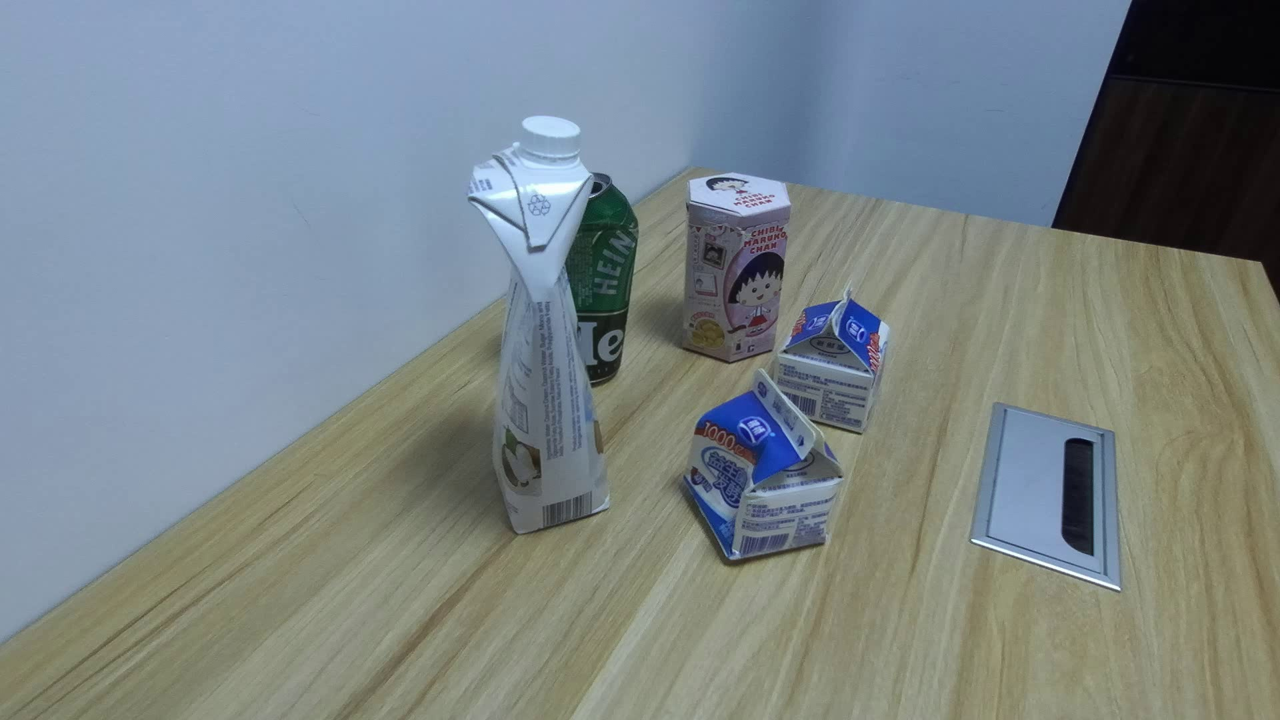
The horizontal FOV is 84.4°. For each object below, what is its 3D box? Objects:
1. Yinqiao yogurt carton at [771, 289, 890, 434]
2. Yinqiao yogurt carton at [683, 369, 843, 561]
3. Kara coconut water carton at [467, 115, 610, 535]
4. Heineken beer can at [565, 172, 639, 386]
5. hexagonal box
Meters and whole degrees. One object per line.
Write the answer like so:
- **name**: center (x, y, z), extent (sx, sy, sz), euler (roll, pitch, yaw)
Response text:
- **Yinqiao yogurt carton**: center (0.146, -0.008, 0.529), extent (0.073, 0.092, 0.076), euler (13, 33, 22)
- **Yinqiao yogurt carton**: center (0.076, 0.060, 0.424), extent (0.071, 0.094, 0.077), euler (-5, 34, -18)
- **Kara coconut water carton**: center (-0.057, -0.013, 0.405), extent (0.069, 0.239, 0.114), euler (-10, 35, -17)
- **Heineken beer can**: center (-0.050, -0.060, 0.544), extent (0.077, 0.164, 0.066), euler (29, 44, 34)
- **hexagonal box**: center (0.078, -0.075, 0.587), extent (0.091, 0.136, 0.083), euler (-17, 37, -24)
